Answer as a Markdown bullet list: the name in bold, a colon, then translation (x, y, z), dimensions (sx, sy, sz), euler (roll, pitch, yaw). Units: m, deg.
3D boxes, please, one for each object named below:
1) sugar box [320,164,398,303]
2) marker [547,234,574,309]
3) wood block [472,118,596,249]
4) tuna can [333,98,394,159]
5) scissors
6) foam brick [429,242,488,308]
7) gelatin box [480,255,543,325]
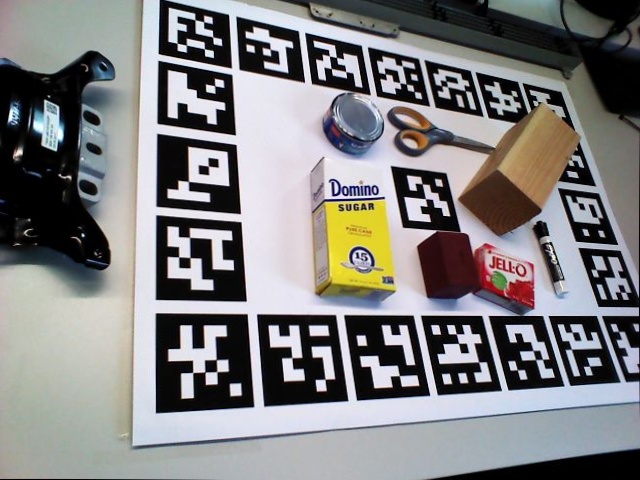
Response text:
- **sugar box**: translation (0.050, -0.009, 0.675), dimensions (0.093, 0.045, 0.175), euler (10, 64, -21)
- **marker**: translation (0.374, 0.047, 0.806), dimensions (0.019, 0.020, 0.120), euler (7, 67, -21)
- **wood block**: translation (0.342, -0.092, 0.818), dimensions (0.090, 0.091, 0.205), euler (44, 57, 1)
- **tuna can**: translation (0.062, -0.161, 0.751), dimensions (0.085, 0.034, 0.085), euler (9, 65, -20)
- **scissors**: translation (0.217, -0.148, 0.828), dimensions (0.202, 0.016, 0.087), euler (12, 64, -16)
- **foam brick**: translation (0.186, 0.048, 0.701), dimensions (0.052, 0.052, 0.077), euler (7, 66, -21)
- **gelatin box**: translation (0.277, 0.072, 0.748), dimensions (0.089, 0.030, 0.073), euler (23, 61, -13)
